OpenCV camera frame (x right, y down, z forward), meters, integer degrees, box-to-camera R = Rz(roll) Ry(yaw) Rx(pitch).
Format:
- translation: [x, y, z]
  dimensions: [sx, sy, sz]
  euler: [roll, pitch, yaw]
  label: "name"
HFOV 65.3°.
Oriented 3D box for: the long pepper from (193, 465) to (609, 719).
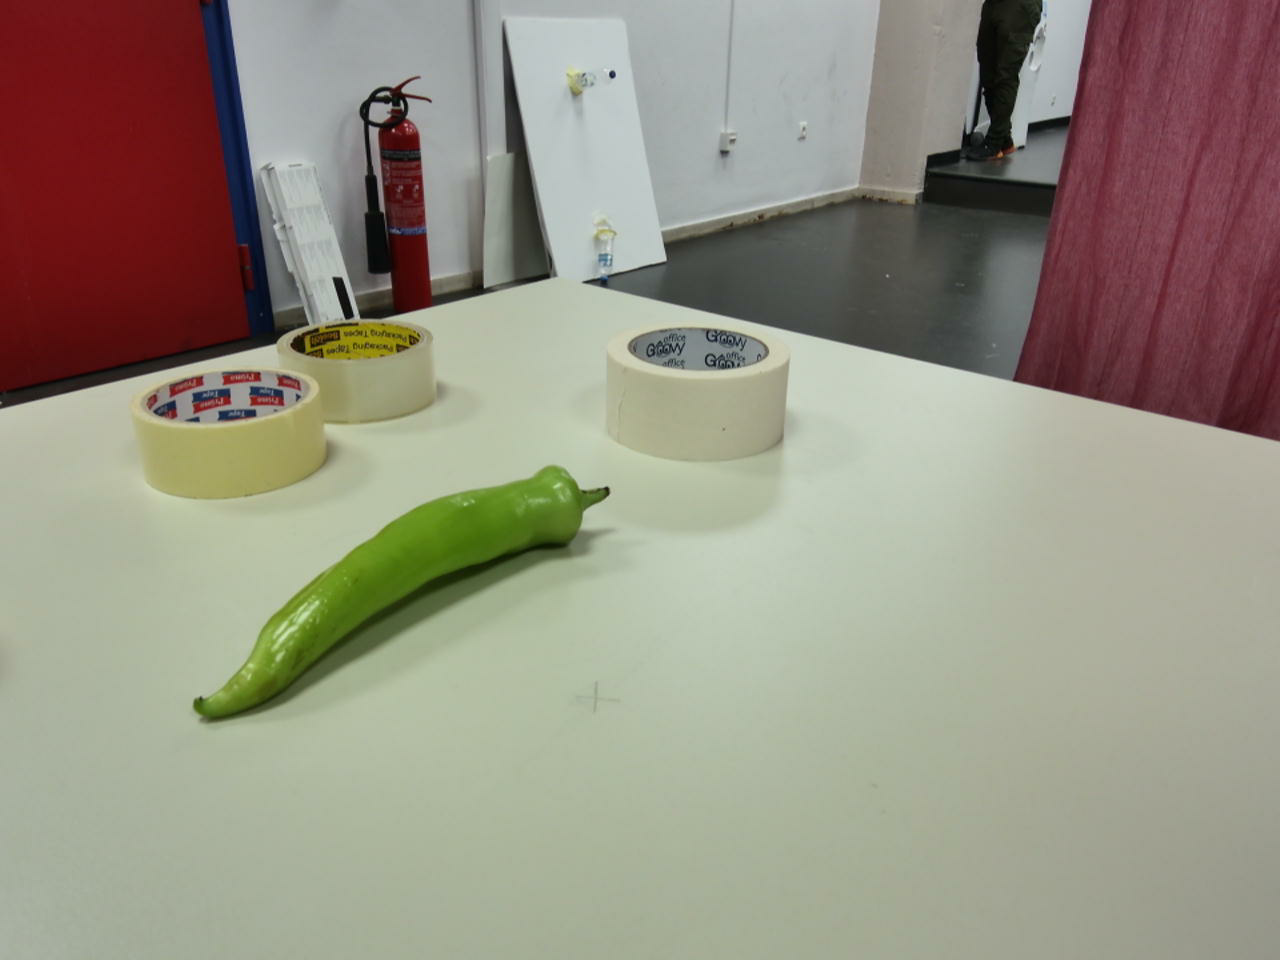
- translation: [-0.090, 0.033, 0.399]
  dimensions: [0.047, 0.038, 0.197]
  euler: [19, 29, 37]
  label: "long pepper"
